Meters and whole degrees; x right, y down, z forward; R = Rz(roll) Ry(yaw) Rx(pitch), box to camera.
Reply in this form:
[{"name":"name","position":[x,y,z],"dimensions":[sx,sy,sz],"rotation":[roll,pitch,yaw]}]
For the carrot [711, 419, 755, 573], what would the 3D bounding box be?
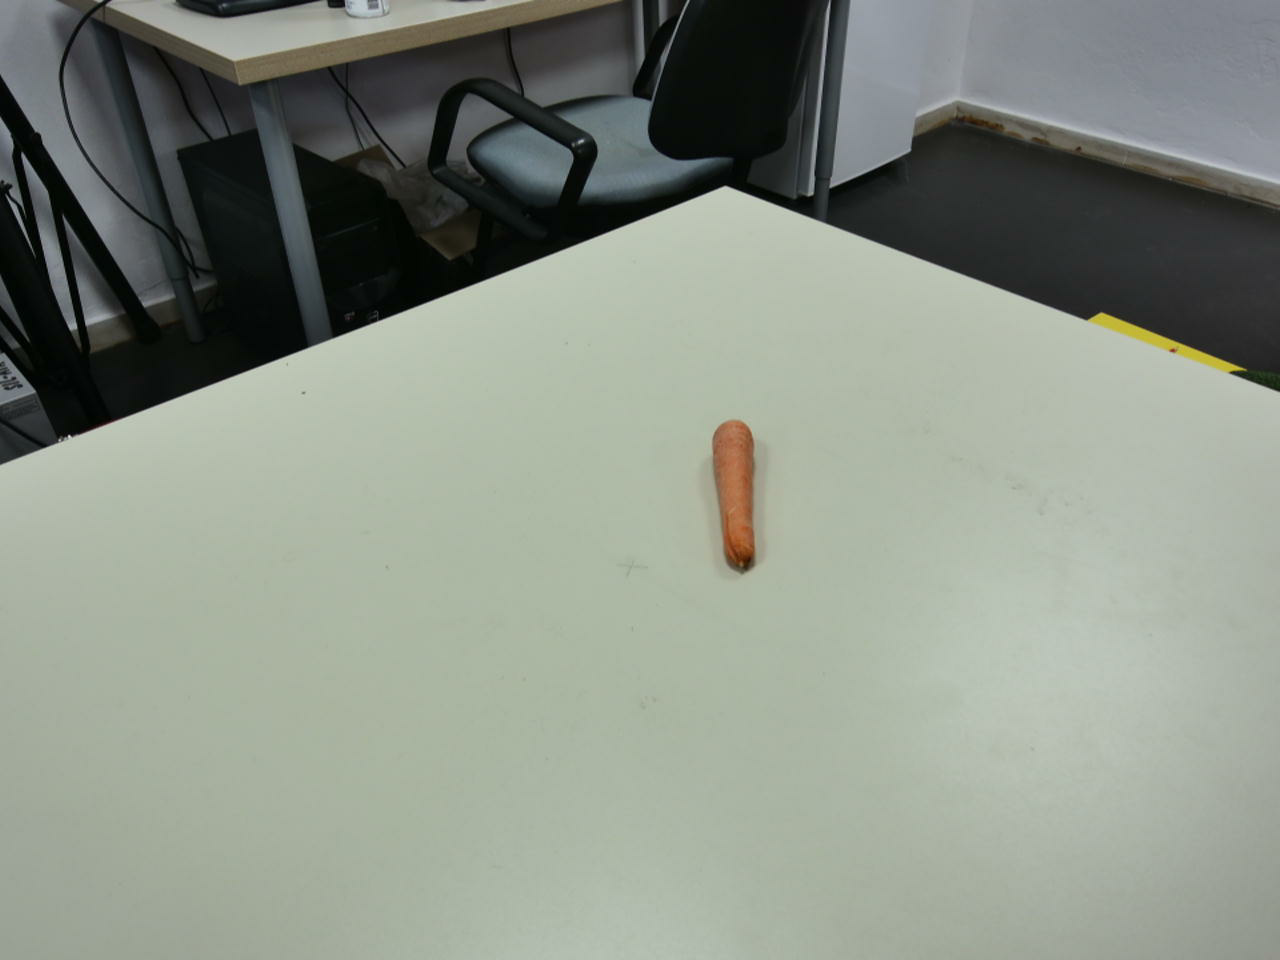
[{"name":"carrot","position":[0.061,0.006,0.642],"dimensions":[0.030,0.032,0.136],"rotation":[1,36,3]}]
